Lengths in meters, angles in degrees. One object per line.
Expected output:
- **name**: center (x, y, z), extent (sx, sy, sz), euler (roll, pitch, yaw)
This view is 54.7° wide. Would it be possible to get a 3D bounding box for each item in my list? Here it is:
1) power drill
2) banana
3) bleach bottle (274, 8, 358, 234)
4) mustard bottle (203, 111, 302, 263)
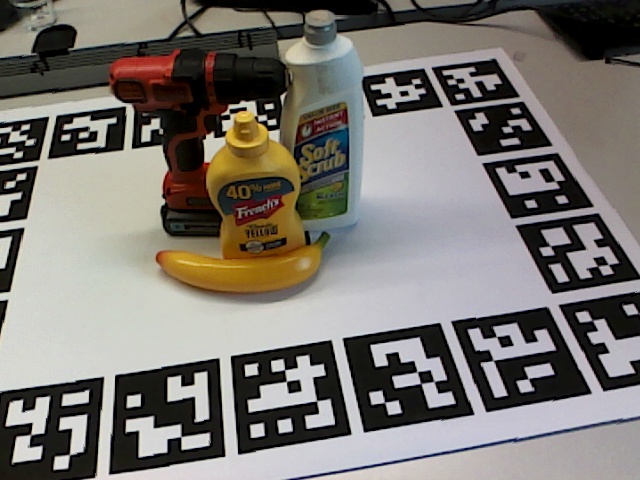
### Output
- **power drill**: center (-0.122, -0.112, 0.669), extent (0.184, 0.186, 0.057), euler (2, 47, 3)
- **banana**: center (-0.082, 0.030, 0.683), extent (0.197, 0.039, 0.074), euler (-6, 50, 1)
- **bleach bottle**: center (-0.010, -0.120, 0.666), extent (0.102, 0.250, 0.068), euler (-6, 43, -2)
- **mustard bottle**: center (-0.070, -0.051, 0.640), extent (0.096, 0.191, 0.058), euler (-7, 49, -5)
